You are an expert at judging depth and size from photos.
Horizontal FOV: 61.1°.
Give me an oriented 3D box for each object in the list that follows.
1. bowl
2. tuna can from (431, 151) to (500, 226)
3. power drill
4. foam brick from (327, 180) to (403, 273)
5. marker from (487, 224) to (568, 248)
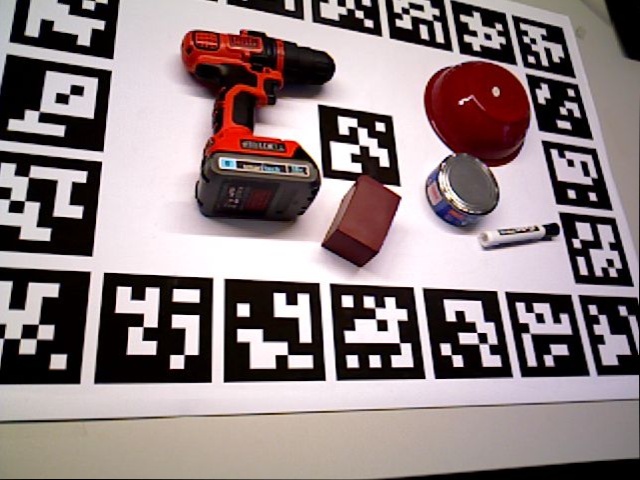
[{"bbox_3d":[0.214,-0.179,0.716,0.160,0.056,0.159,7,60,-14],"label":"bowl"},{"bbox_3d":[0.178,-0.061,0.656,0.085,0.034,0.085,8,66,-20],"label":"tuna can"},{"bbox_3d":[-0.065,-0.126,0.583,0.182,0.059,0.185,3,66,-23],"label":"power drill"},{"bbox_3d":[0.050,-0.014,0.586,0.051,0.054,0.077,26,63,-11],"label":"foam brick"},{"bbox_3d":[0.260,-0.006,0.671,0.119,0.020,0.019,-6,73,-23],"label":"marker"}]
